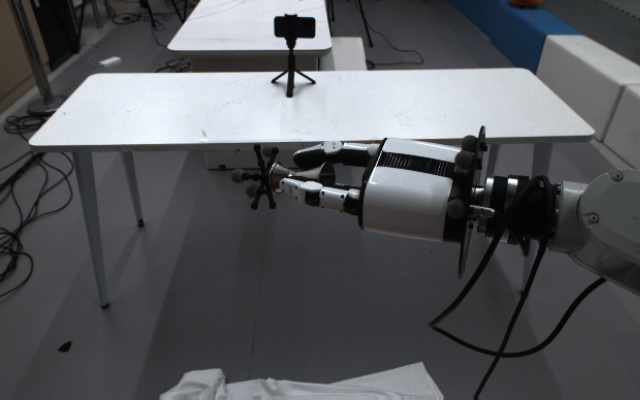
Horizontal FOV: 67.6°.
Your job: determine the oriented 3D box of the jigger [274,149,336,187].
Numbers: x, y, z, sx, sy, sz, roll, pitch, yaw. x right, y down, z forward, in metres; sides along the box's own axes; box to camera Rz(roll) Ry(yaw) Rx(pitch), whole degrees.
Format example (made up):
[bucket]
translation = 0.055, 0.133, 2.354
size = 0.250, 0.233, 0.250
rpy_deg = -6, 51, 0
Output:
[jigger]
translation = -0.013, -0.031, 0.573
size = 0.071, 0.043, 0.043
rpy_deg = 3, 32, 26
